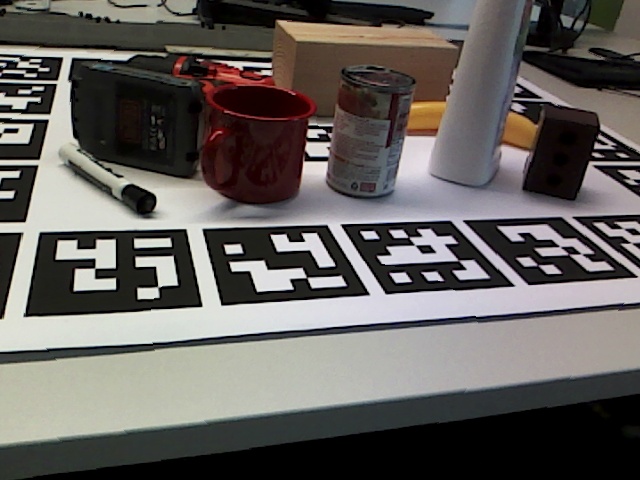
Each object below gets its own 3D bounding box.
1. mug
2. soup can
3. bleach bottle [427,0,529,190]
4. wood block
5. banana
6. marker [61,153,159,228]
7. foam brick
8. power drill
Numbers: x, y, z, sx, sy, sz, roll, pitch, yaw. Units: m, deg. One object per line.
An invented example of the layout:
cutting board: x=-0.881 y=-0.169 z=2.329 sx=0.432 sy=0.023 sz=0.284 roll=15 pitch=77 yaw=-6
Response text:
mug: x=-0.059 y=-0.078 z=0.526 sx=0.093 sy=0.081 sz=0.117 roll=21 pitch=36 yaw=17
soup can: x=0.043 y=-0.099 z=0.558 sx=0.068 sy=0.102 sz=0.068 roll=7 pitch=26 yaw=-4
bleach bottle: x=0.160 y=-0.180 z=0.589 sx=0.068 sy=0.250 sz=0.102 roll=12 pitch=29 yaw=6
wood block: x=0.045 y=-0.209 z=0.769 sx=0.205 sy=0.091 sz=0.090 roll=-4 pitch=34 yaw=-20
banana: x=0.146 y=-0.148 z=0.735 sx=0.197 sy=0.039 sz=0.074 roll=7 pitch=44 yaw=-7
marker: x=-0.171 y=-0.041 z=0.503 sx=0.122 sy=0.019 sz=0.019 roll=31 pitch=39 yaw=31
foam brick: x=0.237 y=-0.086 z=0.622 sx=0.053 sy=0.078 sz=0.051 roll=13 pitch=28 yaw=11
power drill: x=-0.152 y=-0.136 z=0.637 sx=0.185 sy=0.057 sz=0.187 roll=14 pitch=30 yaw=4
